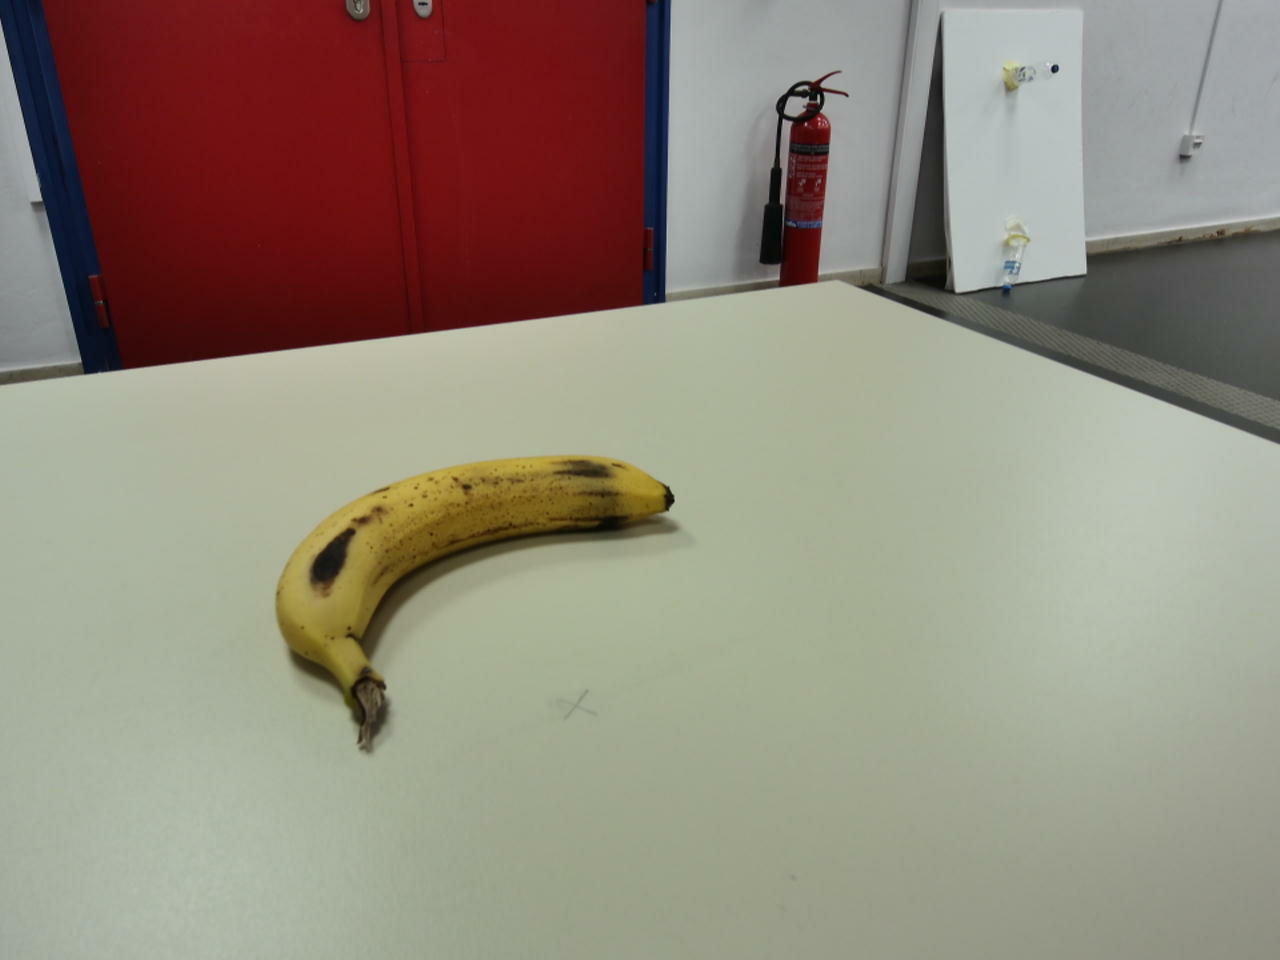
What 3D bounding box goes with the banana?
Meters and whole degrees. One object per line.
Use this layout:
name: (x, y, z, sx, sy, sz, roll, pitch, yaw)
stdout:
banana: (-0.074, 0.026, 0.420, 0.097, 0.038, 0.186, 16, 28, 32)
